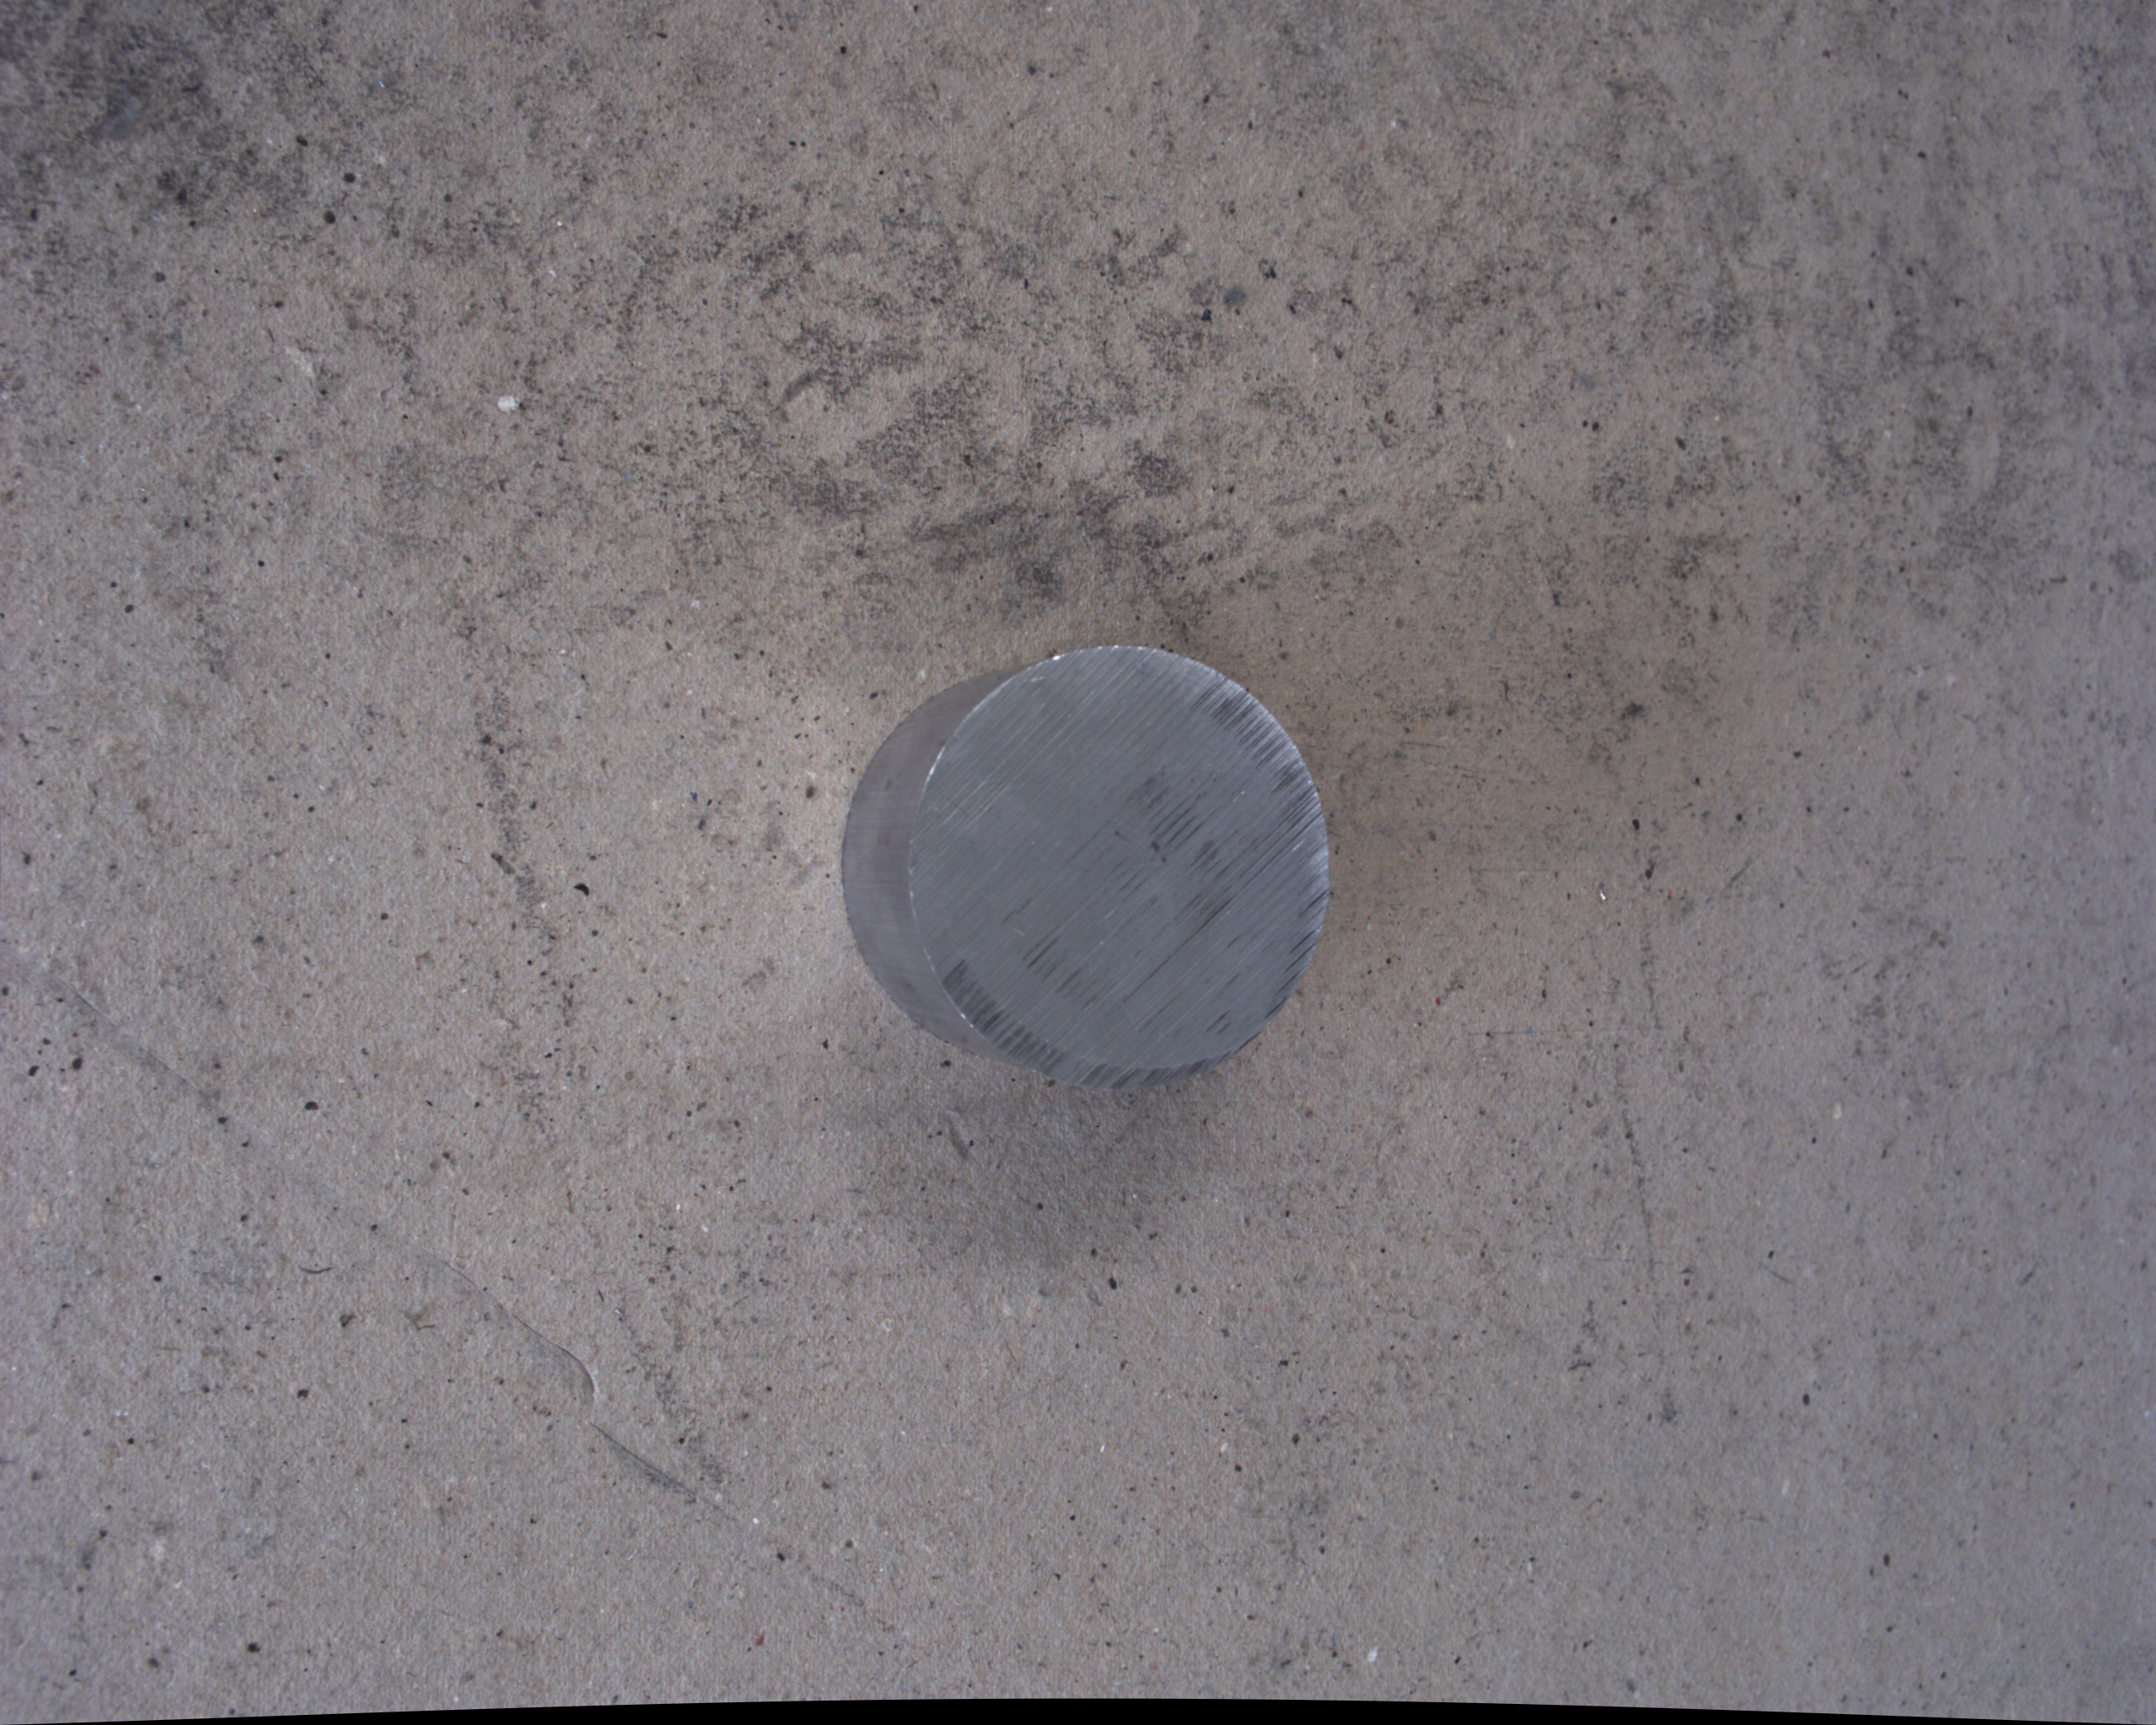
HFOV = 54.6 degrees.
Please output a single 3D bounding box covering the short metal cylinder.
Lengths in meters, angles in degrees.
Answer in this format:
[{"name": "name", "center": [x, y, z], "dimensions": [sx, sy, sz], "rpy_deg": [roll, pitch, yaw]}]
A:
[{"name": "short metal cylinder", "center": [0.000, 0.001, 0.397], "dimensions": [0.081, 0.050, 0.080], "rpy_deg": [0, 90, -21]}]
